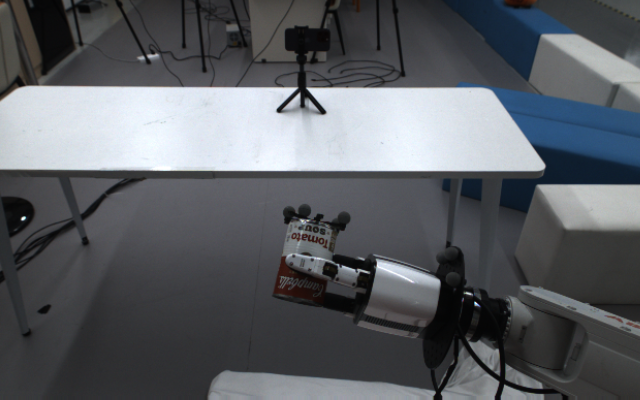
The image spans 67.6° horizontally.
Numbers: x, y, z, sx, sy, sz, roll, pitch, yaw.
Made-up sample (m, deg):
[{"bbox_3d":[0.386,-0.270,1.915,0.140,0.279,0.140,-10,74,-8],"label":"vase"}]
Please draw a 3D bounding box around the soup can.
[{"bbox_3d":[-0.017,0.082,0.631,0.067,0.067,0.101,9,74,9],"label":"soup can"}]
